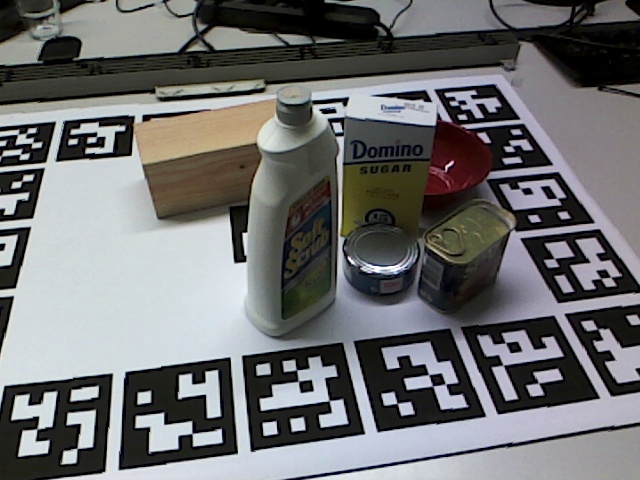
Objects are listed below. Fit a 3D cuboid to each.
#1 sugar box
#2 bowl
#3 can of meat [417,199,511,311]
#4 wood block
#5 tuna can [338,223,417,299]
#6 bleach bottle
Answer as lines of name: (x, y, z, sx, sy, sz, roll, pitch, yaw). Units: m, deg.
sugar box: (0.074, -0.072, 0.684, 0.093, 0.176, 0.045, 5, 46, 11)
bowl: (0.137, -0.093, 0.796, 0.162, 0.055, 0.162, -3, 44, 3)
can of meat: (0.151, 0.017, 0.665, 0.101, 0.083, 0.058, -30, 48, -29)
wood block: (-0.126, -0.102, 0.786, 0.205, 0.089, 0.091, -14, 50, -15)
tuna can: (0.063, 0.023, 0.686, 0.086, 0.033, 0.086, 0, 47, 0)
bleach bottle: (-0.031, -0.023, 0.584, 0.102, 0.250, 0.068, -27, 49, -25)
